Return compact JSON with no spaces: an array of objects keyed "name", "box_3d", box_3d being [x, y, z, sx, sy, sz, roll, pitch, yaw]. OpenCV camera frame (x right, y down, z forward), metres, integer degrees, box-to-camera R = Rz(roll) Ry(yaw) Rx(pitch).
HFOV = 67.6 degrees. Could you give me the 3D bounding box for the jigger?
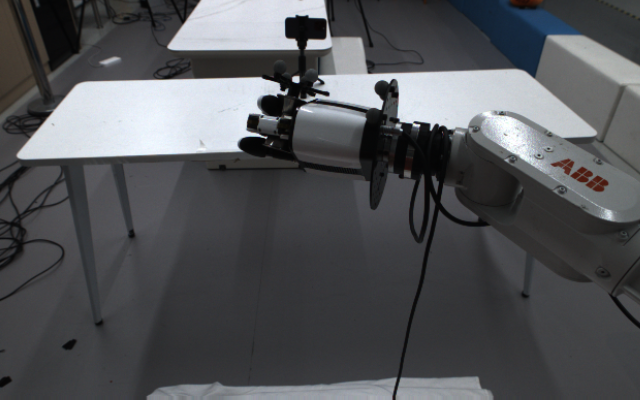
[{"name":"jigger","box_3d":[-0.044,-0.097,0.620,0.043,0.071,0.043,17,2,-1]}]
